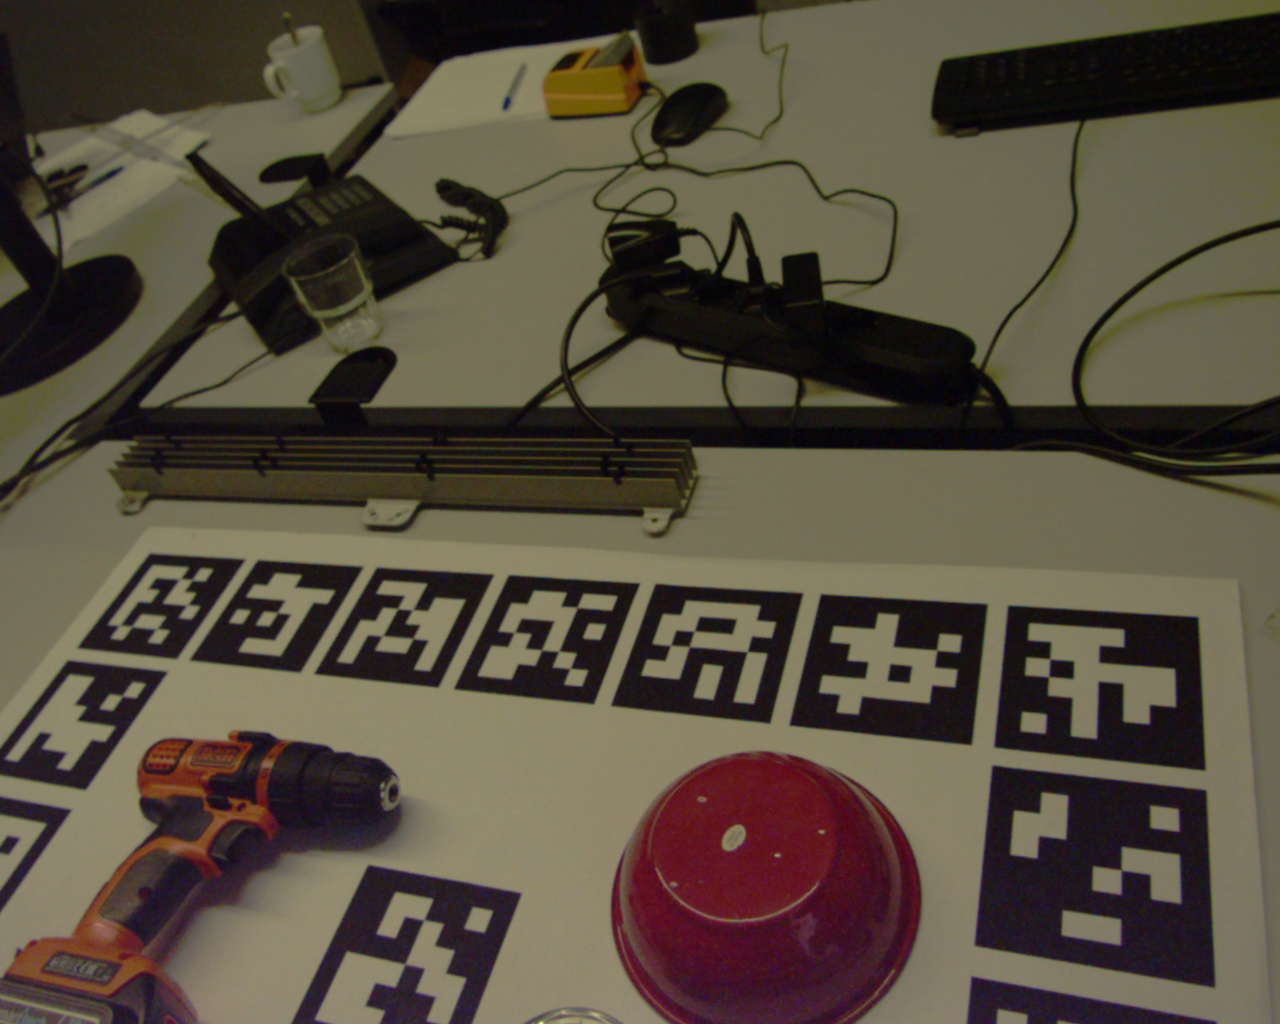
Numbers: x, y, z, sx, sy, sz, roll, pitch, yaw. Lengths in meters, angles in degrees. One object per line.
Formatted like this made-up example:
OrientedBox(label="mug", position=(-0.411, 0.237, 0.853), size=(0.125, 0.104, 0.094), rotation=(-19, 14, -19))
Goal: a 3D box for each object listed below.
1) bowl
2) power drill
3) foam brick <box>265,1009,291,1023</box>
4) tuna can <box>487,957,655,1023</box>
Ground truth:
OrientedBox(label="bowl", position=(0.050, 0.175, 0.618), size=(0.162, 0.055, 0.162), rotation=(-13, 35, 8))
OrientedBox(label="power drill", position=(-0.262, 0.216, 0.682), size=(0.186, 0.057, 0.186), rotation=(3, 44, 19))
OrientedBox(label="foam brick", position=(-0.184, 0.303, 0.568), size=(0.052, 0.052, 0.077), rotation=(24, 58, 36))
OrientedBox(label="tuna can", position=(-0.032, 0.265, 0.553), size=(0.086, 0.033, 0.086), rotation=(-9, 43, 8))
